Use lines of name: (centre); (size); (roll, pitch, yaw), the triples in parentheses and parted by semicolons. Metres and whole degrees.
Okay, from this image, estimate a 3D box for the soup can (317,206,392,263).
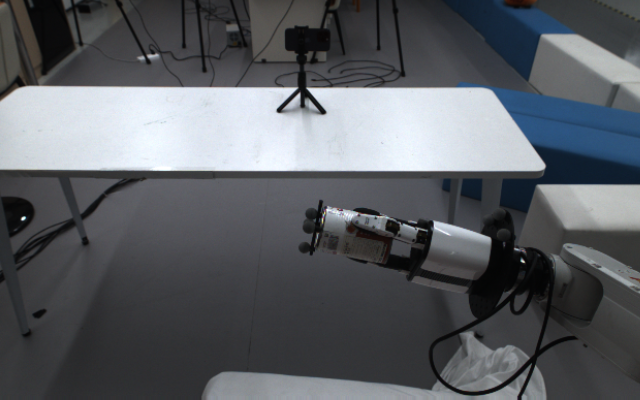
soup can: (0.051, 0.050, 0.694); (0.101, 0.067, 0.067); (11, 35, -2)
